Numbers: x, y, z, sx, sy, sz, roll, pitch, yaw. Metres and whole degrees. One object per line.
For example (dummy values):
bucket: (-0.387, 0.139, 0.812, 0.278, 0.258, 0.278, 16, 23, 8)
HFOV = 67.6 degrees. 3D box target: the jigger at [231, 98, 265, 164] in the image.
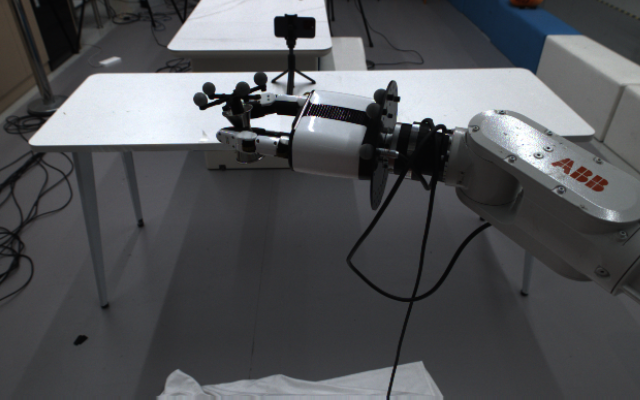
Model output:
jigger: (-0.098, -0.086, 0.639, 0.043, 0.071, 0.043, -10, 32, 6)
